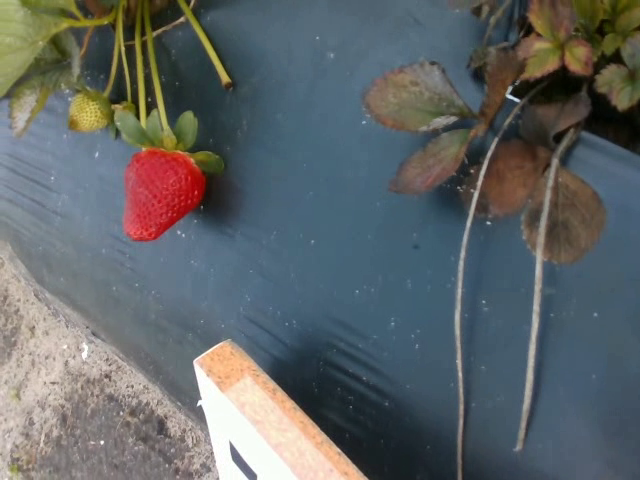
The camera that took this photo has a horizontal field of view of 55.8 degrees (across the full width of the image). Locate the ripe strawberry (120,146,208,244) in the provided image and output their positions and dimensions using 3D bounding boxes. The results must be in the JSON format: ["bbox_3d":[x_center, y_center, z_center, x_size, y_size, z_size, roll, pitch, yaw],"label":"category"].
[{"bbox_3d":[-0.080,-0.020,0.294,0.042,0.055,0.045,35,-22,-15],"label":"ripe strawberry"}]
